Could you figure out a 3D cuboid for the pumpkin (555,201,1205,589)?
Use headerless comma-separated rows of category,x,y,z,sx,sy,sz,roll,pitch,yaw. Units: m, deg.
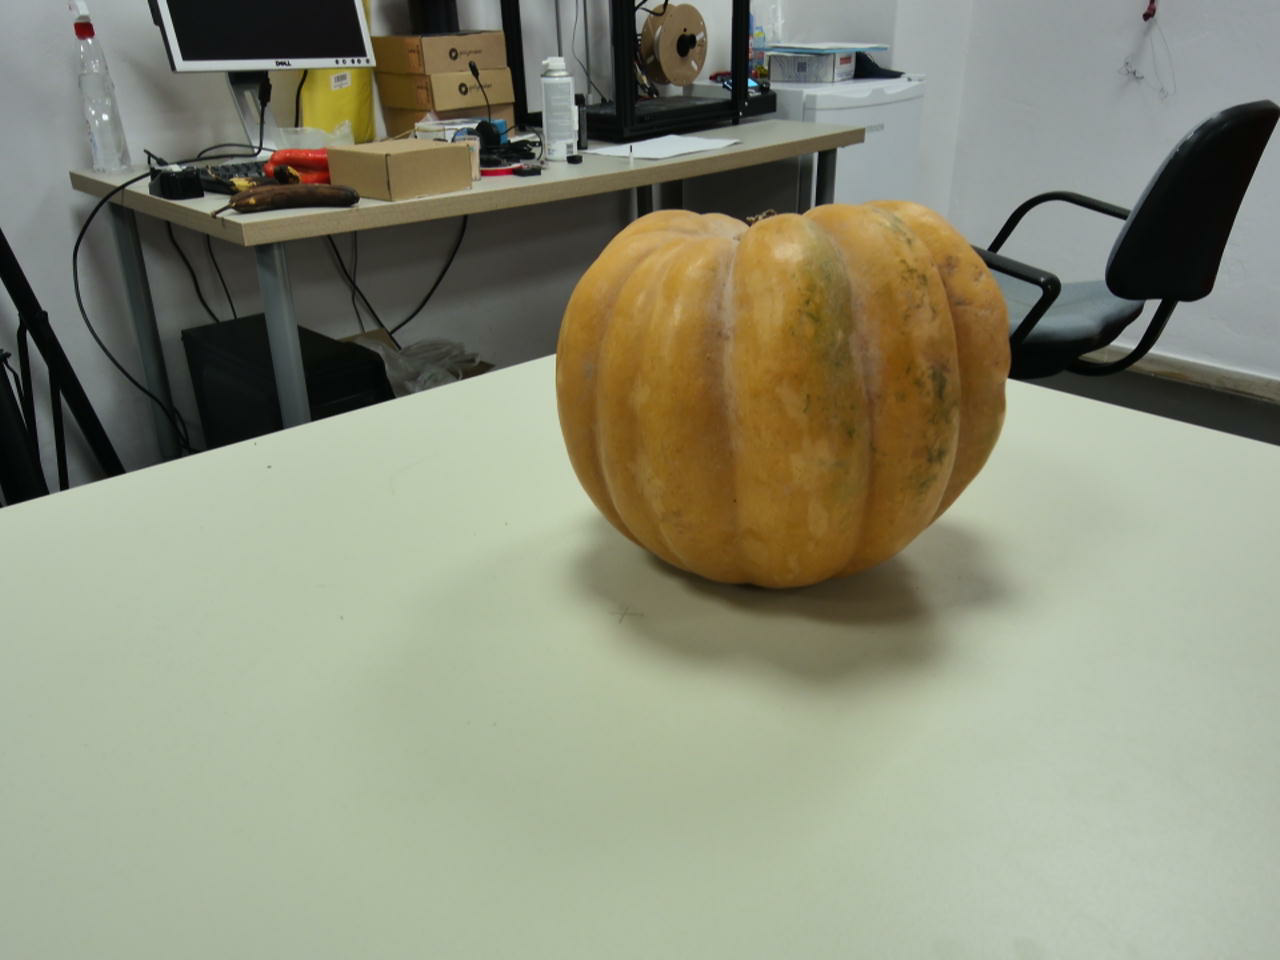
pumpkin,0.070,-0.048,0.516,0.230,0.194,0.230,0,23,0
